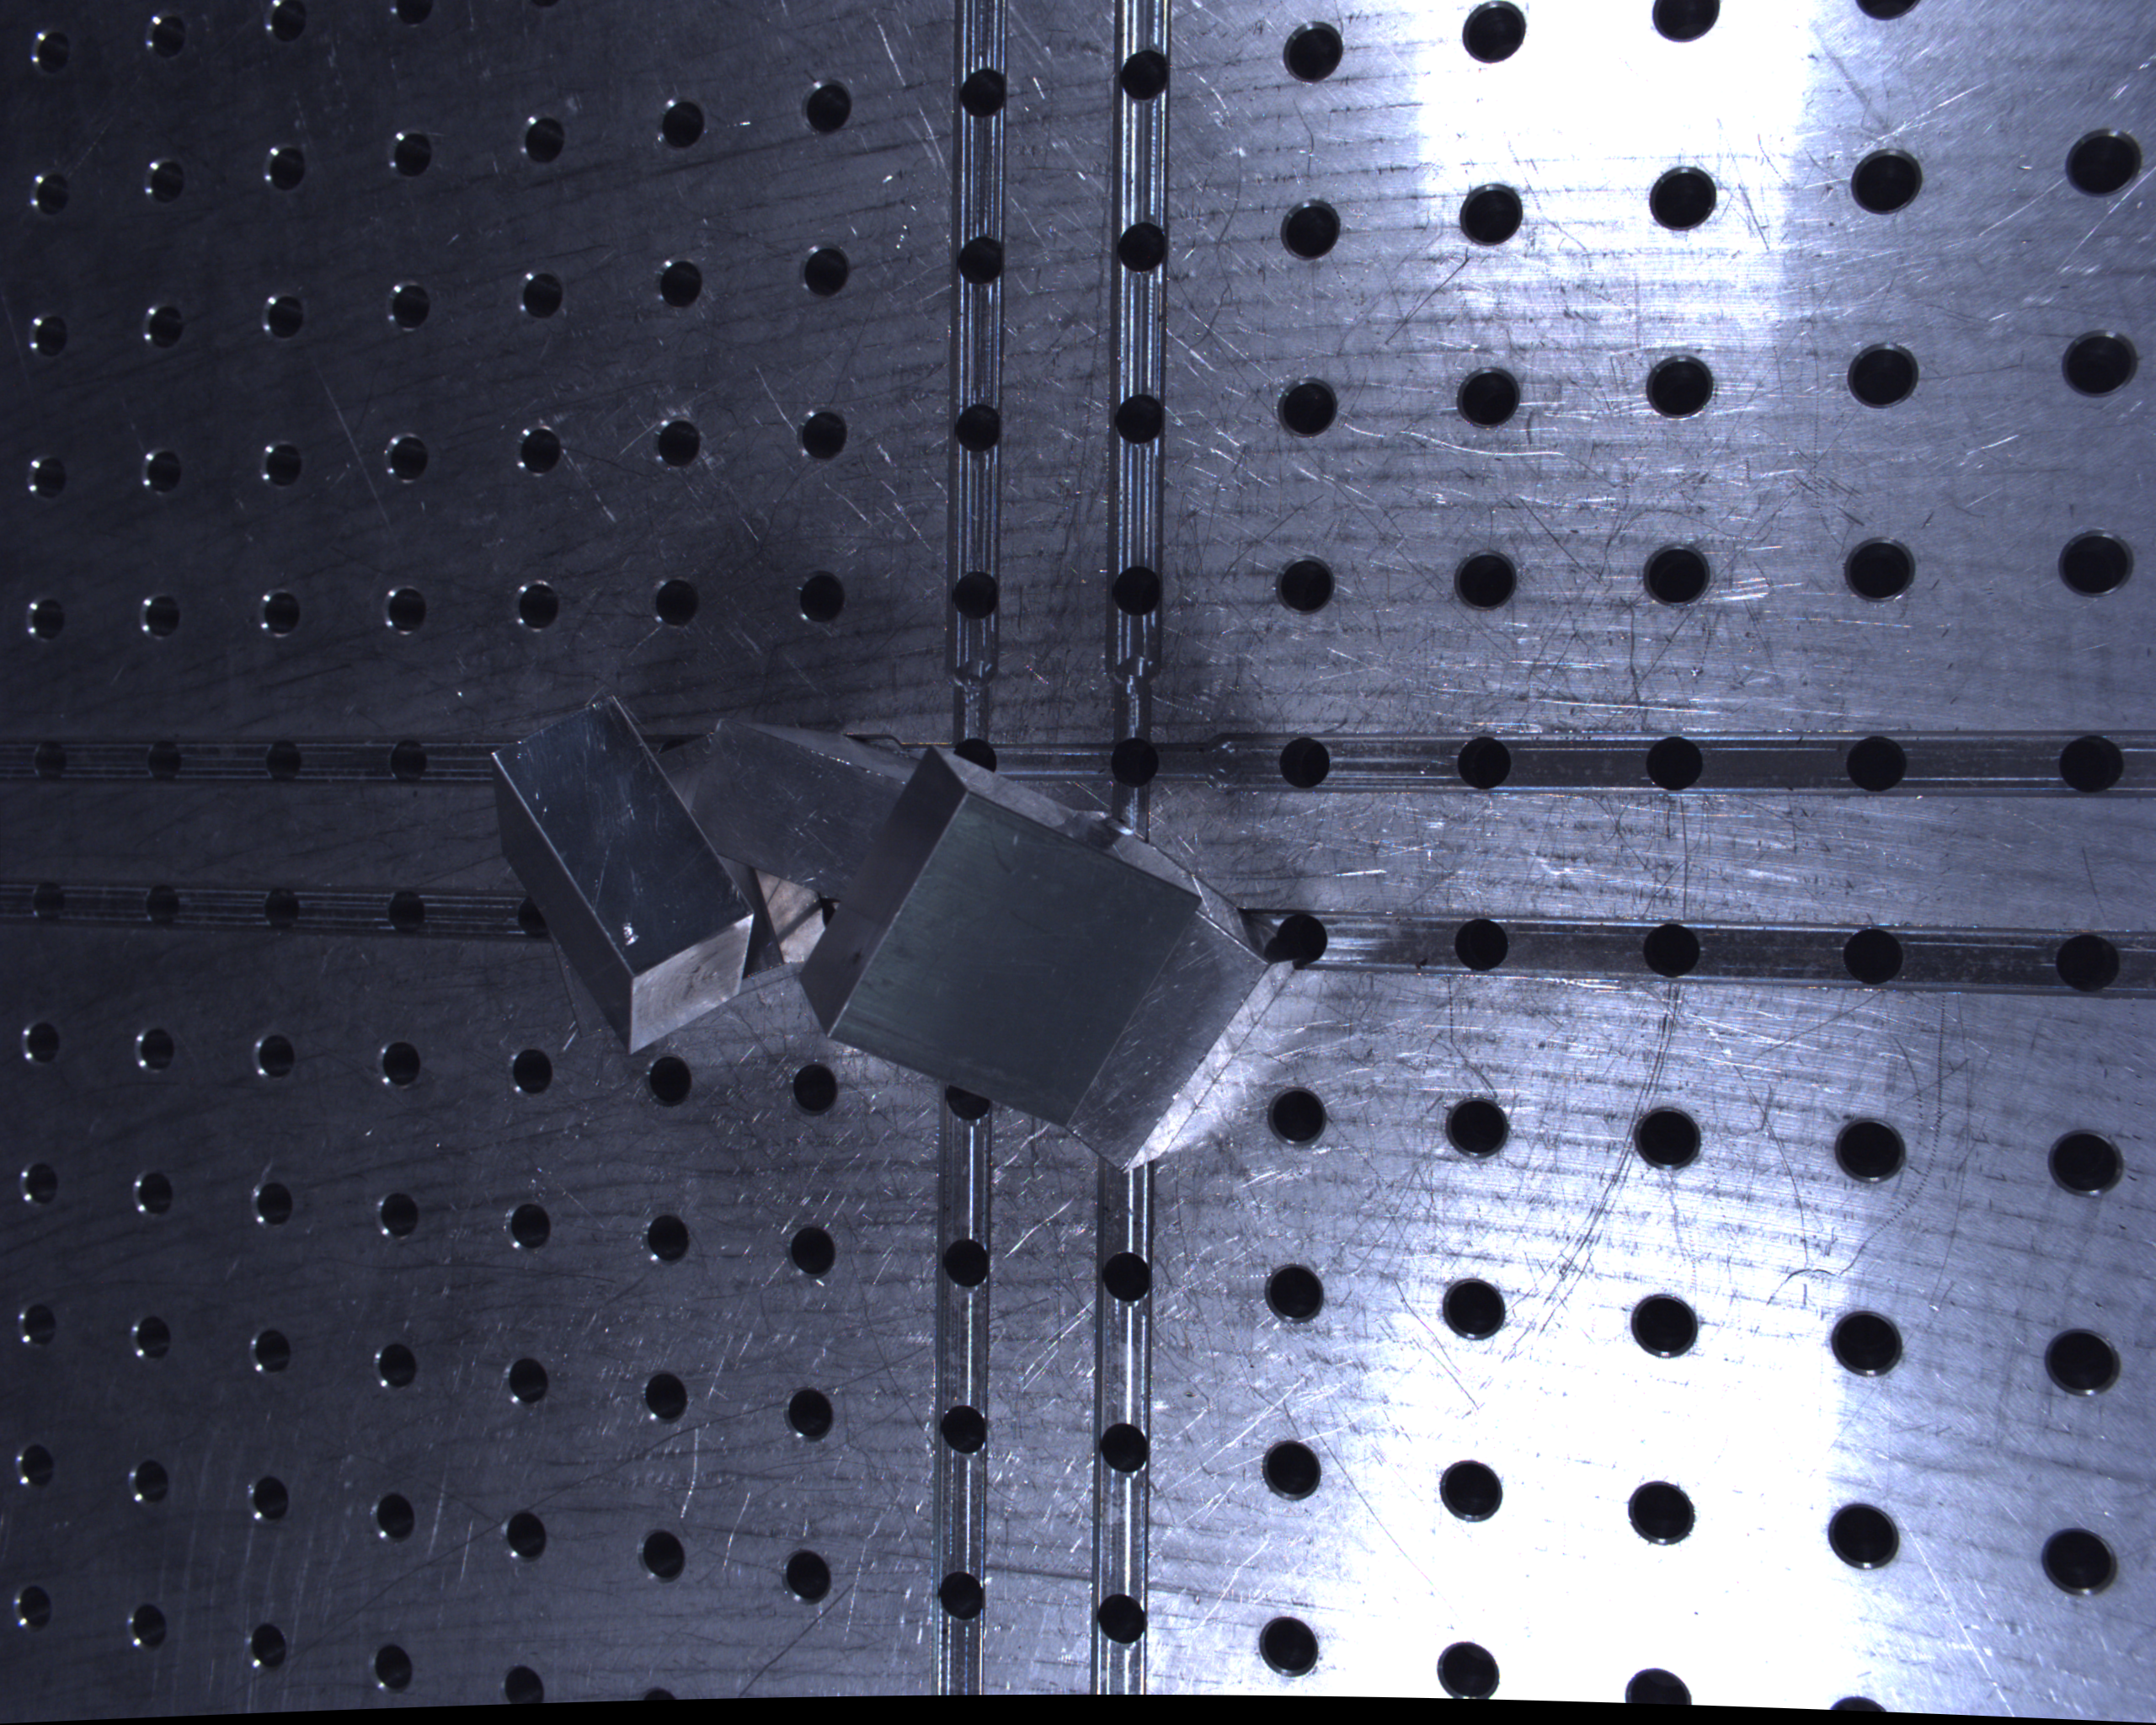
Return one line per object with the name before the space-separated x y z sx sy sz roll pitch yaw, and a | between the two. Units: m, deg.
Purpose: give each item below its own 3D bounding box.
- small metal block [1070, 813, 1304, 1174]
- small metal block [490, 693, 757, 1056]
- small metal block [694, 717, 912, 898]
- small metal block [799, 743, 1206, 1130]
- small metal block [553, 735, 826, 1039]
small metal block | 0.007 0.024 0.409 0.050 0.025 0.050 37 102 16
small metal block | -0.087 0.003 0.399 0.025 0.050 0.050 -30 78 -22
small metal block | -0.041 -0.008 0.413 0.050 0.050 0.025 20 97 18
small metal block | -0.014 0.014 0.375 0.050 0.025 0.050 25 101 -27
small metal block | -0.085 0.005 0.441 0.050 0.025 0.050 -20 83 18
